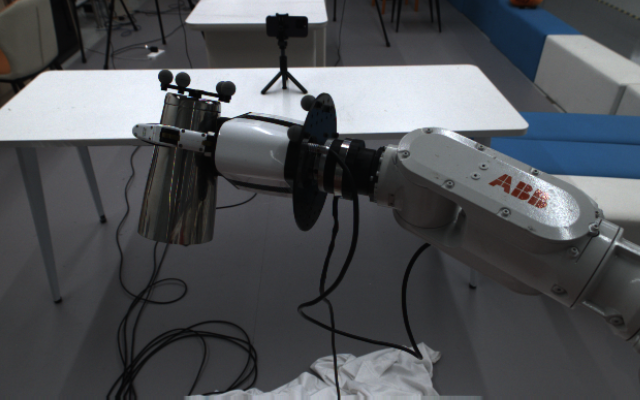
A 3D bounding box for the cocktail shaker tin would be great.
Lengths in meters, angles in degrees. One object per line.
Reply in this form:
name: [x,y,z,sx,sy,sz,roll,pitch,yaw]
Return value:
cocktail shaker tin: [-0.163,-0.042,0.596,0.093,0.170,0.093,10,10,-2]
